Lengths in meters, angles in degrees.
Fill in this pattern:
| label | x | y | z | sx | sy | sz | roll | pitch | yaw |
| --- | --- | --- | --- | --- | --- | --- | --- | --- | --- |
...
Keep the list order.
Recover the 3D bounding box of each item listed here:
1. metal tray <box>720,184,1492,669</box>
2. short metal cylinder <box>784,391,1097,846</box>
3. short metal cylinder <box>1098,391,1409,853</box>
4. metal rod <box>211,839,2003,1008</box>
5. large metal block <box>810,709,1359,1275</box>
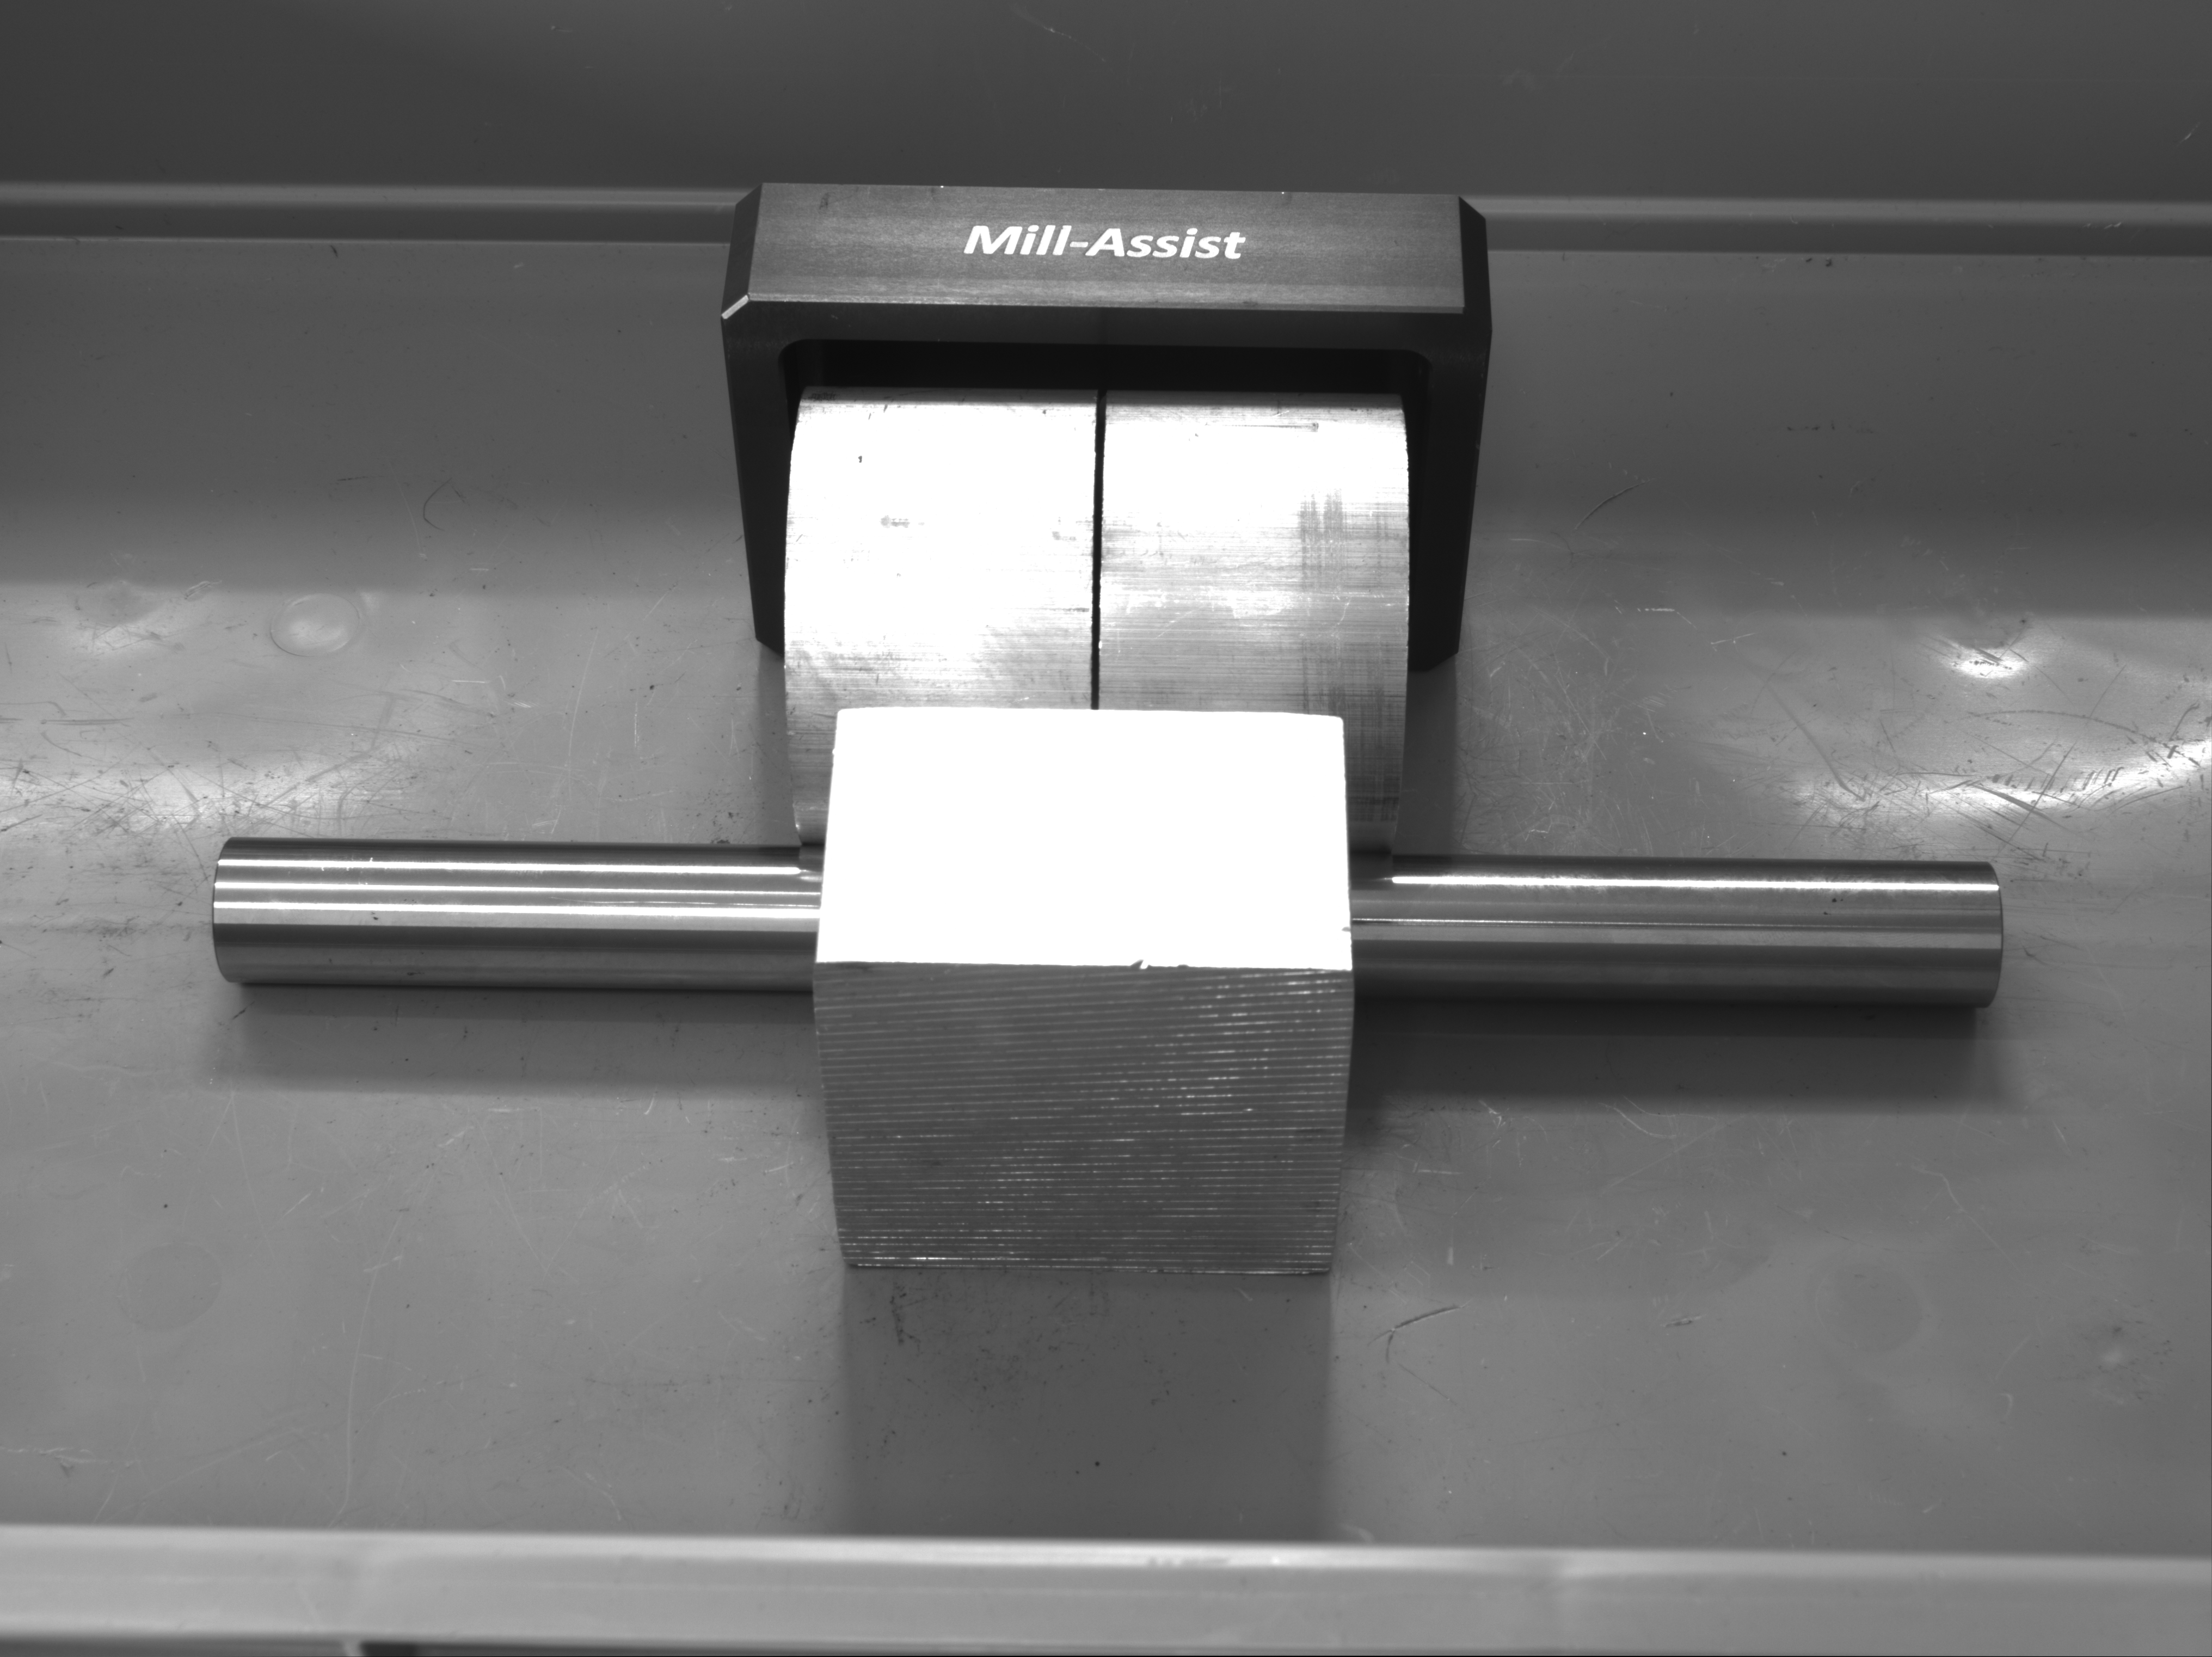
| label | x | y | z | sx | sy | sz | roll | pitch | yaw |
| --- | --- | --- | --- | --- | --- | --- | --- | --- | --- |
| metal tray | 0.000 | -0.070 | 0.658 | 0.130 | 0.090 | 0.030 | 1 | 50 | 1 |
| short metal cylinder | -0.027 | -0.036 | 0.637 | 0.050 | 0.080 | 0.080 | 0 | 50 | 1 |
| short metal cylinder | 0.025 | -0.035 | 0.636 | 0.050 | 0.080 | 0.080 | 1 | 50 | 1 |
| metal rod | 0.000 | 0.016 | 0.627 | 0.300 | 0.025 | 0.025 | 1 | 50 | 1 |
| large metal block | -0.002 | 0.027 | 0.582 | 0.080 | 0.080 | 0.050 | 1 | 50 | 1 |
